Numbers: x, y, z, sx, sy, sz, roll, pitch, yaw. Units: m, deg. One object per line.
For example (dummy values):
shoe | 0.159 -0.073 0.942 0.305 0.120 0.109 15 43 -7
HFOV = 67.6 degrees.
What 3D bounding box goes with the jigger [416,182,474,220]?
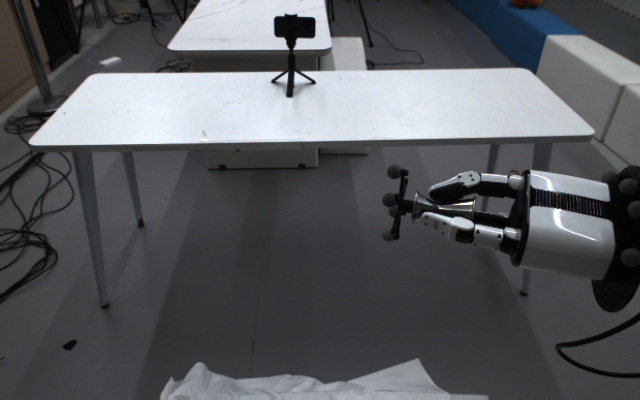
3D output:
jigger | 0.151 0.010 0.571 0.071 0.043 0.043 8 35 15
